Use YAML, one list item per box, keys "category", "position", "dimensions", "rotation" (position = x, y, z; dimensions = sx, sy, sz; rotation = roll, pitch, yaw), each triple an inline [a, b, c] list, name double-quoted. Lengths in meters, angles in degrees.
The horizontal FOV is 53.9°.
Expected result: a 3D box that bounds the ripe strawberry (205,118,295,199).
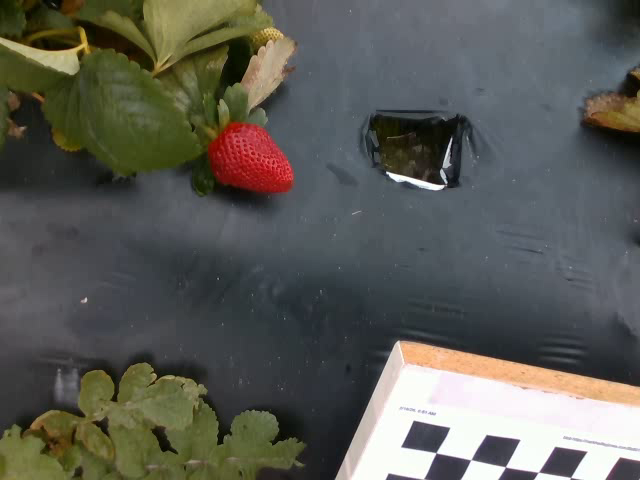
- category: "ripe strawberry"
  position: [-0.043, -0.046, 0.388]
  dimensions: [0.064, 0.046, 0.048]
  rotation: [36, 35, 17]
